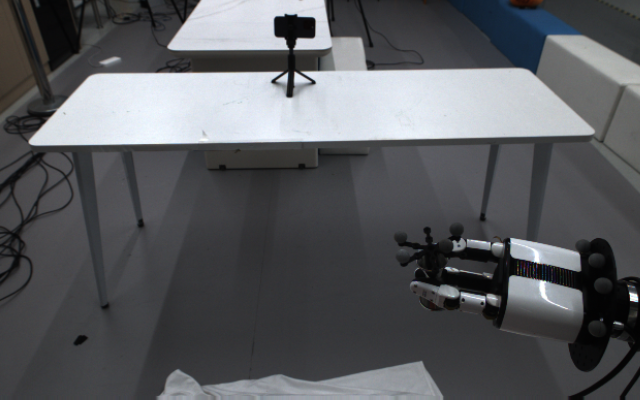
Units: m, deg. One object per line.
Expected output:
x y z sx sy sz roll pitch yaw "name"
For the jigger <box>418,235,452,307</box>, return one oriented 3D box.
0.147 0.103 0.626 0.043 0.071 0.043 -10 32 6 "jigger"
